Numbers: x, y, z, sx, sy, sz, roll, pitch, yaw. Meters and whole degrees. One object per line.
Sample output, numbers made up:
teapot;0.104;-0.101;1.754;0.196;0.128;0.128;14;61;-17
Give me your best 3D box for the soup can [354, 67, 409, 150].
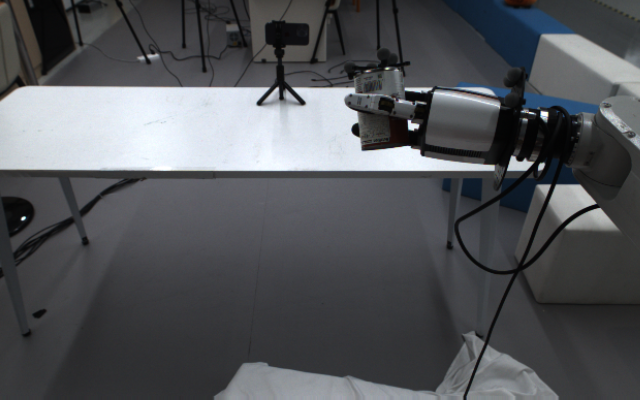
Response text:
soup can;0.085;-0.121;0.658;0.067;0.101;0.067;-7;3;0
